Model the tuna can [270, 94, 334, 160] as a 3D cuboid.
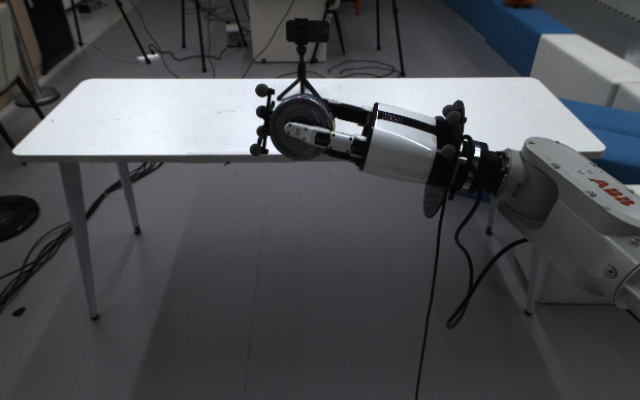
[{"bbox_3d":[-0.022,-0.097,0.642,0.085,0.085,0.034,4,18,3],"label":"tuna can"}]
